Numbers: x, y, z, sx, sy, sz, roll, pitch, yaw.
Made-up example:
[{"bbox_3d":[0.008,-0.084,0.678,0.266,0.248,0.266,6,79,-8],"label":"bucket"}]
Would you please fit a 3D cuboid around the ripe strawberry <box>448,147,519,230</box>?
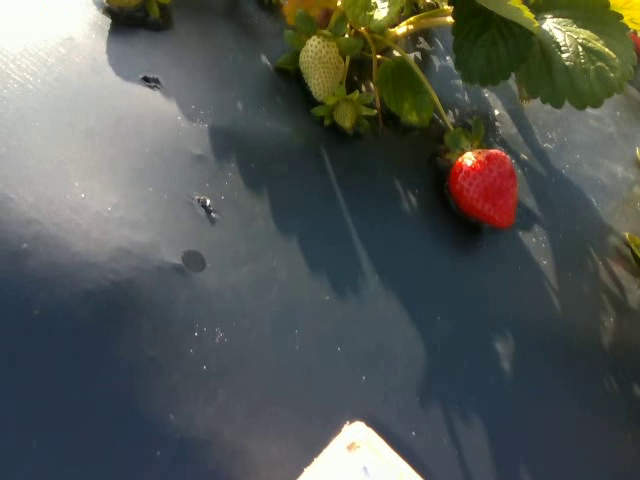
[{"bbox_3d":[0.071,-0.019,0.271,0.030,0.045,0.033,-18,-34,9],"label":"ripe strawberry"}]
